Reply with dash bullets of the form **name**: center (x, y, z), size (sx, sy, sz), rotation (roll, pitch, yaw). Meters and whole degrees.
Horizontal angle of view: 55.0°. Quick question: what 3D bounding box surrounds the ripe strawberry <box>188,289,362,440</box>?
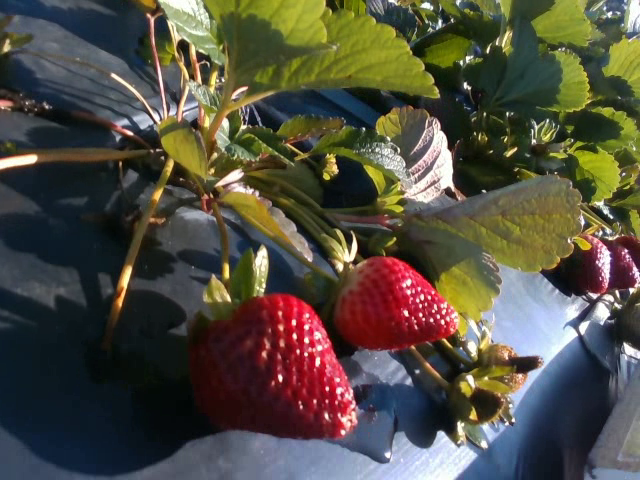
- **ripe strawberry**: center (-0.009, 0.038, 0.163), size (0.050, 0.045, 0.050), rotation (26, 4, 36)

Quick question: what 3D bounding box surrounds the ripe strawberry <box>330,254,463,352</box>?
- **ripe strawberry**: center (0.030, 0.026, 0.225), size (0.049, 0.042, 0.039), rotation (17, -32, 15)
